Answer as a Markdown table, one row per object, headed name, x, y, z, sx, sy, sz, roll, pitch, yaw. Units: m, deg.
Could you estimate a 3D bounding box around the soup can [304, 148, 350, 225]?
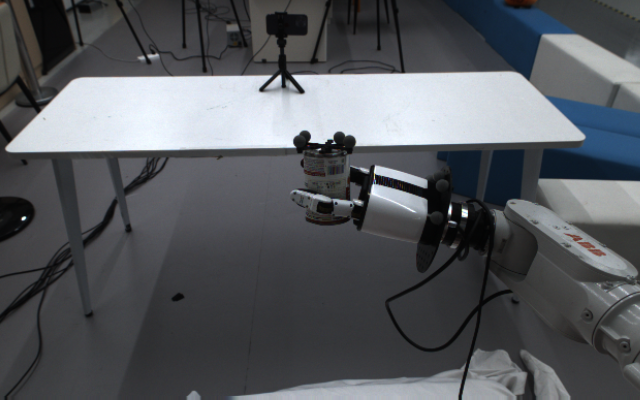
| name | x | y | z | sx | sy | sz | roll | pitch | yaw |
| --- | --- | --- | --- | --- | --- | --- | --- | --- | --- |
| soup can | 0.011 | -0.022 | 0.692 | 0.067 | 0.101 | 0.067 | -1 | 17 | 0 |
